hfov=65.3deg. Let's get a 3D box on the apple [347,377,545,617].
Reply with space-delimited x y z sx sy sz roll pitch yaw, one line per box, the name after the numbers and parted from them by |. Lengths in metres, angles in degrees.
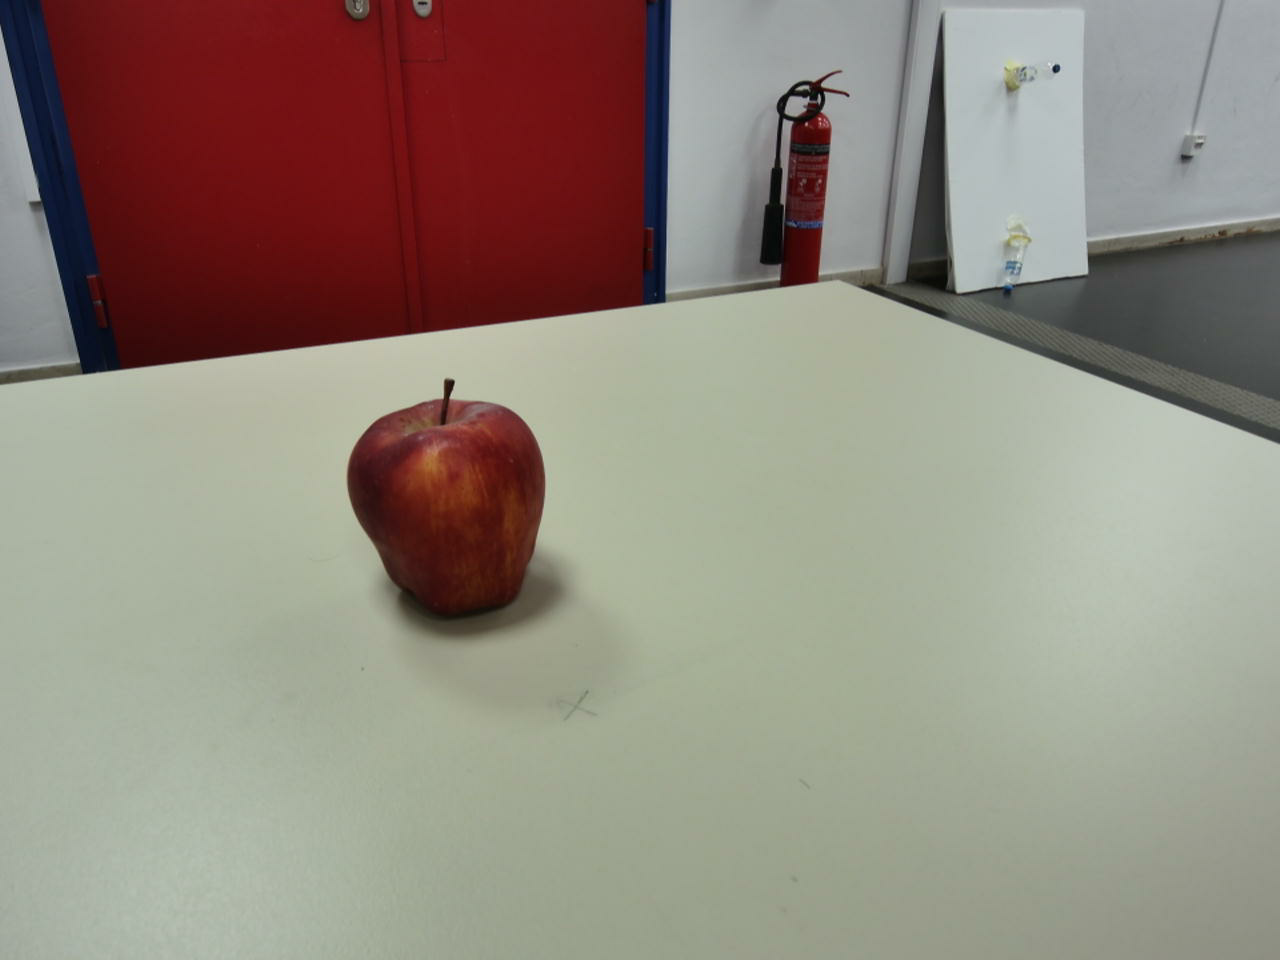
-0.077 0.004 0.401 0.083 0.090 0.083 0 24 0 | apple
